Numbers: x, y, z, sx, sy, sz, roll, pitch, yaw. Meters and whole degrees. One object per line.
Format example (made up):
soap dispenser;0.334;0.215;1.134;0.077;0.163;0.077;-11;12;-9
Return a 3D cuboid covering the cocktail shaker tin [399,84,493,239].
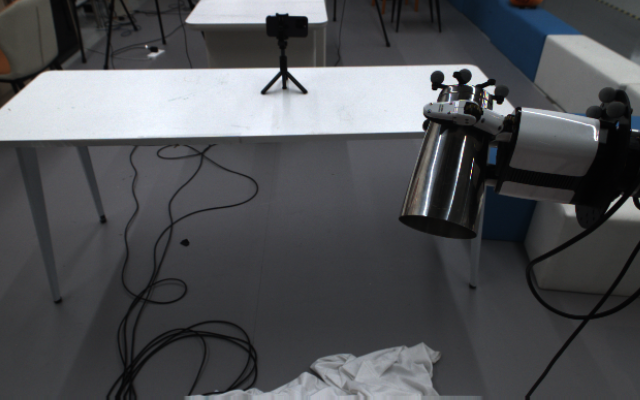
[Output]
cocktail shaker tin;0.162;-0.051;0.583;0.093;0.093;0.170;13;77;15
